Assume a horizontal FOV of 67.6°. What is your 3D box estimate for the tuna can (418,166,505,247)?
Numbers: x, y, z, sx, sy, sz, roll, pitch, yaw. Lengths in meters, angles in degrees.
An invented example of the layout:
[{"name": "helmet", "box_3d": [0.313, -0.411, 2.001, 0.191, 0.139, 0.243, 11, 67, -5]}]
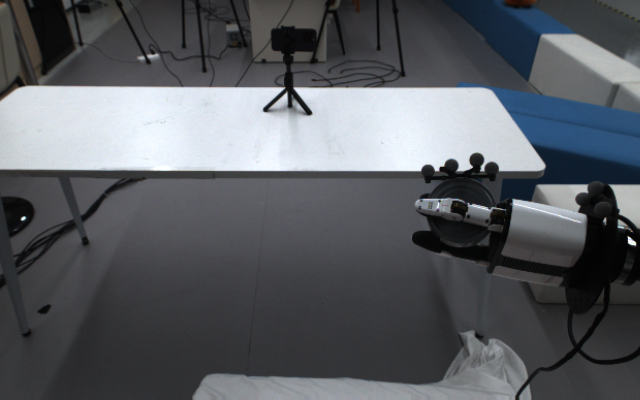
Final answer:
[{"name": "tuna can", "box_3d": [0.179, 0.014, 0.616, 0.085, 0.034, 0.085, -5, 70, 15]}]
